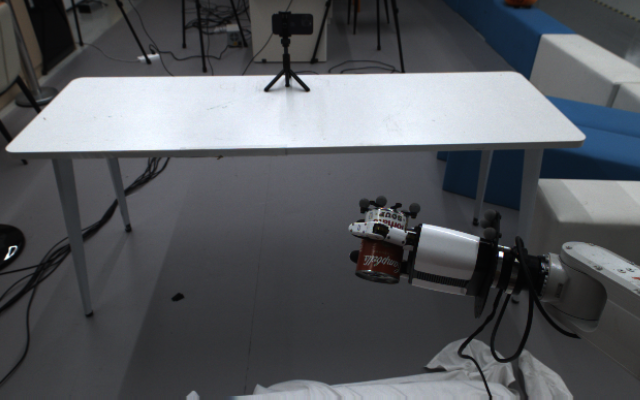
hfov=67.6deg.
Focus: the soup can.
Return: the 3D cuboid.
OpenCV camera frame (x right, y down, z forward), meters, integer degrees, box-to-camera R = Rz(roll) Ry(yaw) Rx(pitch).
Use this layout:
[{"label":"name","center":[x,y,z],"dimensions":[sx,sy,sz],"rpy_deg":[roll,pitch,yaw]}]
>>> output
[{"label":"soup can","center":[0.096,0.070,0.736],"dimensions":[0.067,0.067,0.101],"rpy_deg":[9,71,10]}]
